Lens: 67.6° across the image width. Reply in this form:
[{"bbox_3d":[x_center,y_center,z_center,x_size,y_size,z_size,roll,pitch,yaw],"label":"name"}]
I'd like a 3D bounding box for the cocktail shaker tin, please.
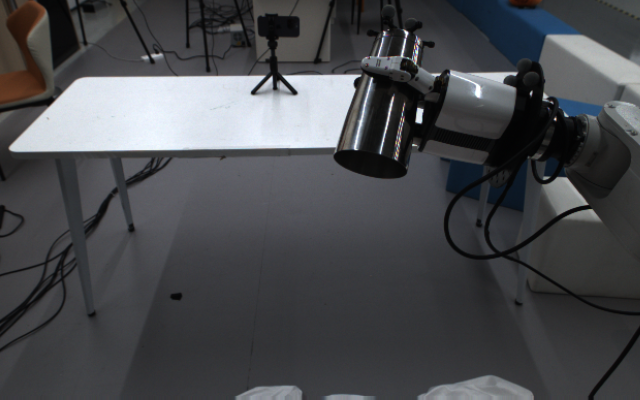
[{"bbox_3d":[0.083,-0.122,0.606,0.093,0.093,0.170,12,76,13],"label":"cocktail shaker tin"}]
